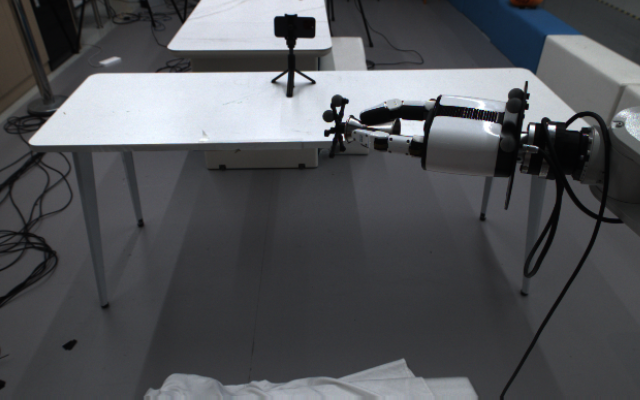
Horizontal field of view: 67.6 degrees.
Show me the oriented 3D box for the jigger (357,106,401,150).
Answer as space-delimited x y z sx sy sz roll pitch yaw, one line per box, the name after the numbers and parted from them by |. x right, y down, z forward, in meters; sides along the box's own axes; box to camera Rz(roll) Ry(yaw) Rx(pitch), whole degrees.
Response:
0.077 -0.097 0.666 0.071 0.043 0.043 10 35 22 | jigger
